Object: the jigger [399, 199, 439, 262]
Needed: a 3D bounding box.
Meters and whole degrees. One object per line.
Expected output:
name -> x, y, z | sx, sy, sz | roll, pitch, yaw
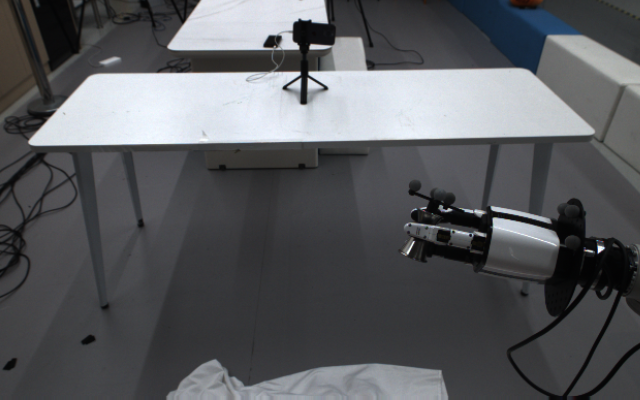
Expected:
jigger -> 0.141, 0.047, 0.681 | 0.043, 0.071, 0.043 | 22, 6, -2
